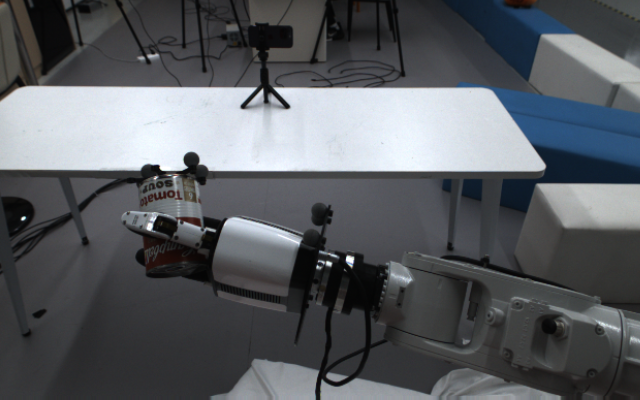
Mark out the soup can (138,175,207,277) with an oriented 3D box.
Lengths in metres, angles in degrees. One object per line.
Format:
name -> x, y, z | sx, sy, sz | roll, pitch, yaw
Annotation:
soup can -> -0.162, 0.030, 0.539 | 0.067, 0.067, 0.101 | -8, 73, -14
